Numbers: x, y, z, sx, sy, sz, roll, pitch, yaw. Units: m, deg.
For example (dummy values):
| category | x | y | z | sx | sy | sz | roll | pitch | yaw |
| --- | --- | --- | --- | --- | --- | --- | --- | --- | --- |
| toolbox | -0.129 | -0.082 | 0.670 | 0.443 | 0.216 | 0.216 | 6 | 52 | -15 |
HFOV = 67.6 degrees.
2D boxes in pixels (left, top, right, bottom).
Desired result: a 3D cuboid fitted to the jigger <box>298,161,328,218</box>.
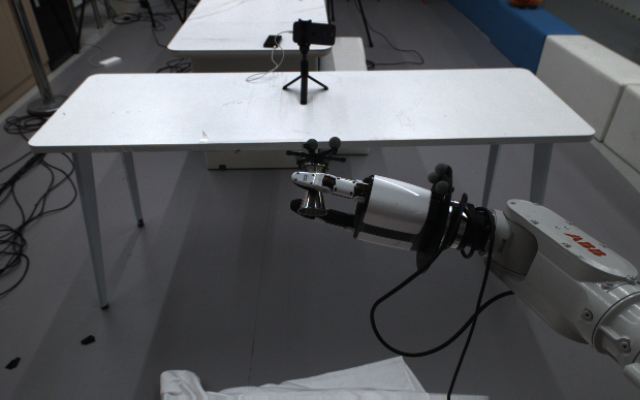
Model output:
| category | x | y | z | sx | sy | sz | roll | pitch | yaw |
| --- | --- | --- | --- | --- | --- | --- | --- | --- | --- |
| jigger | -0.010 | -0.015 | 0.699 | 0.043 | 0.043 | 0.071 | 3 | 75 | 2 |
